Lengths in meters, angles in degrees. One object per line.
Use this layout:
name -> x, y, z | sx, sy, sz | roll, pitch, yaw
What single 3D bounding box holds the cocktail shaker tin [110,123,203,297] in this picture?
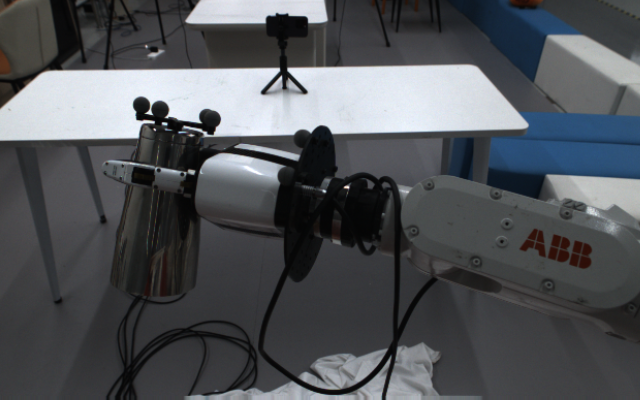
cocktail shaker tin -> -0.167, 0.007, 0.528 | 0.093, 0.170, 0.093 | 10, 9, -2
